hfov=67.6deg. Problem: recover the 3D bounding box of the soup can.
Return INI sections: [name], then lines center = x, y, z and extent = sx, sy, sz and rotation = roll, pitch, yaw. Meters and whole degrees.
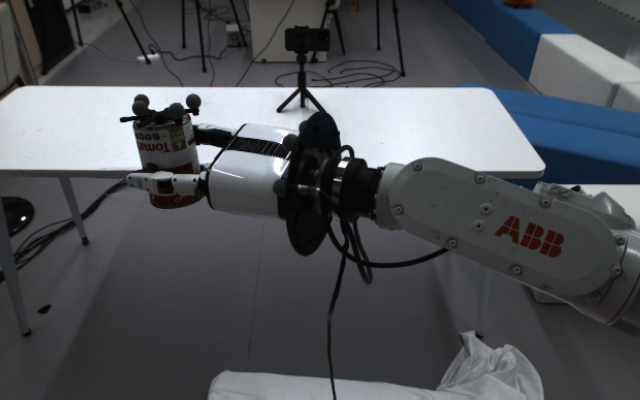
[soup can]
center = -0.180, -0.048, 0.587
extent = 0.067, 0.101, 0.067
rotation = -3, 26, 2
